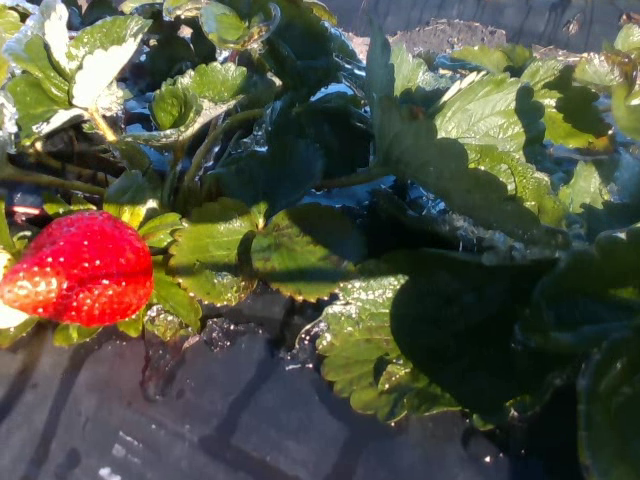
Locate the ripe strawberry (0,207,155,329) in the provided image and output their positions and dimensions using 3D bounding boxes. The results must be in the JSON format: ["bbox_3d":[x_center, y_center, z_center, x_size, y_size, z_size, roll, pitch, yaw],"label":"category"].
[{"bbox_3d":[-0.084,0.016,0.204,0.042,0.046,0.061,9,14,25],"label":"ripe strawberry"}]
